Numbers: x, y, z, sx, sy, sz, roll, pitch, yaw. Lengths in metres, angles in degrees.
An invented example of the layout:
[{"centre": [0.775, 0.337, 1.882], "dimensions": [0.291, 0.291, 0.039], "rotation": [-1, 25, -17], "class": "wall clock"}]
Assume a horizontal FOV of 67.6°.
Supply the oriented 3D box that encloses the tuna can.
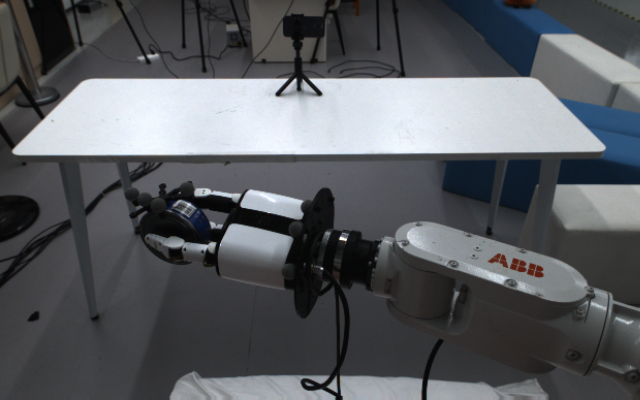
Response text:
[{"centre": [-0.179, 0.042, 0.620], "dimensions": [0.085, 0.085, 0.034], "rotation": [9, 33, 10], "class": "tuna can"}]
